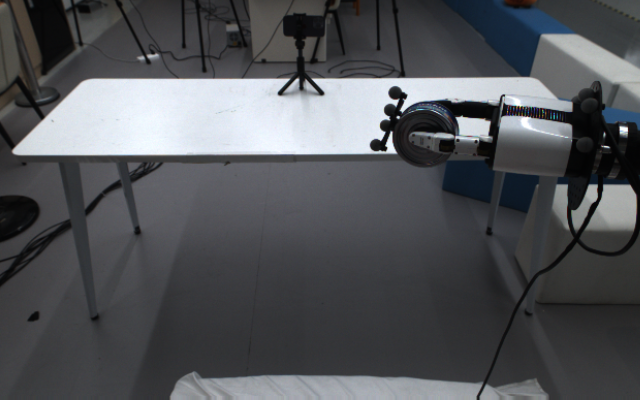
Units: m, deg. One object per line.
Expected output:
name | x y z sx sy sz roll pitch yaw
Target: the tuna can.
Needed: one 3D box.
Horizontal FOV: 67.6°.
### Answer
tuna can | 0.146 -0.090 0.660 0.085 0.085 0.034 11 30 13
